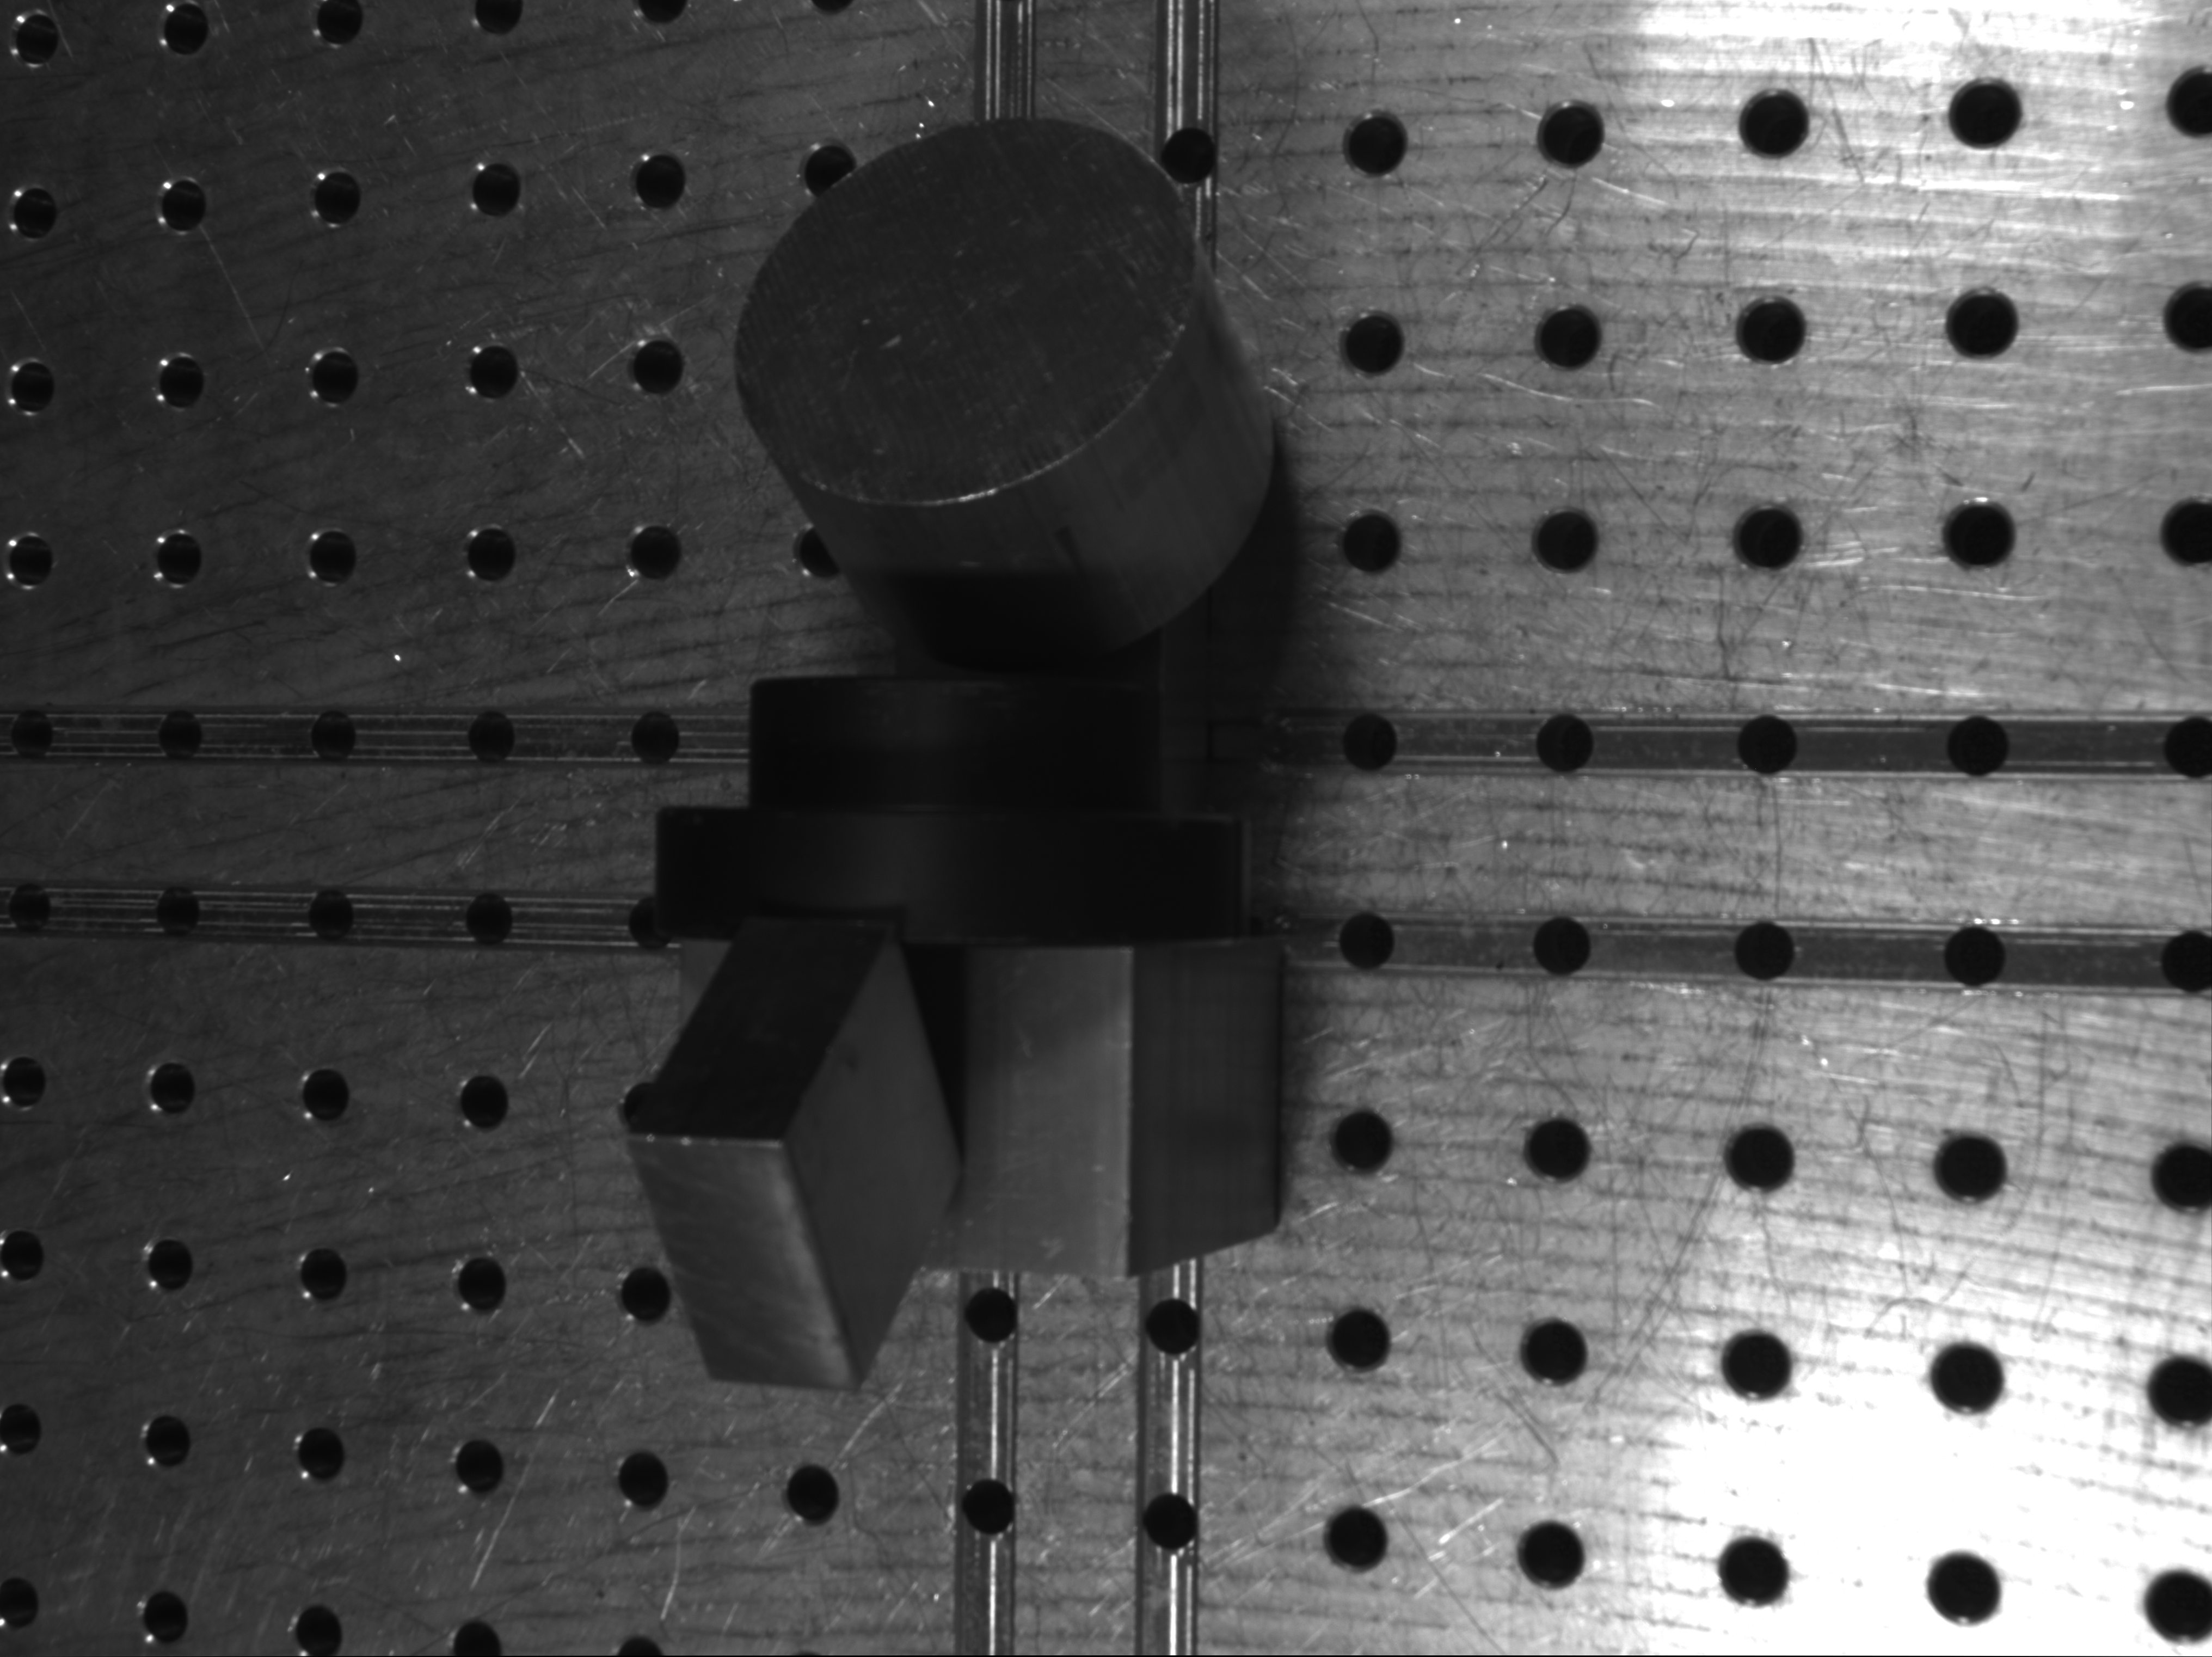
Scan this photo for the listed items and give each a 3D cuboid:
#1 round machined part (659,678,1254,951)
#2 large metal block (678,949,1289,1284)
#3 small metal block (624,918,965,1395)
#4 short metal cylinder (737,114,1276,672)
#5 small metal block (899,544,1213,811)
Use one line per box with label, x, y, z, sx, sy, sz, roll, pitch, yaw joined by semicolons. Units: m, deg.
round machined part;-0.024;-0.003;0.606;0.098;0.098;0.042;1;90;20
large metal block;-0.019;0.046;0.623;0.080;0.080;0.050;1;90;20
small metal block;-0.046;0.049;0.553;0.025;0.050;0.050;1;128;19
short metal cylinder;-0.016;-0.074;0.622;0.080;0.050;0.080;-9;57;14
small metal block;-0.009;-0.027;0.649;0.050;0.025;0.050;1;90;20
